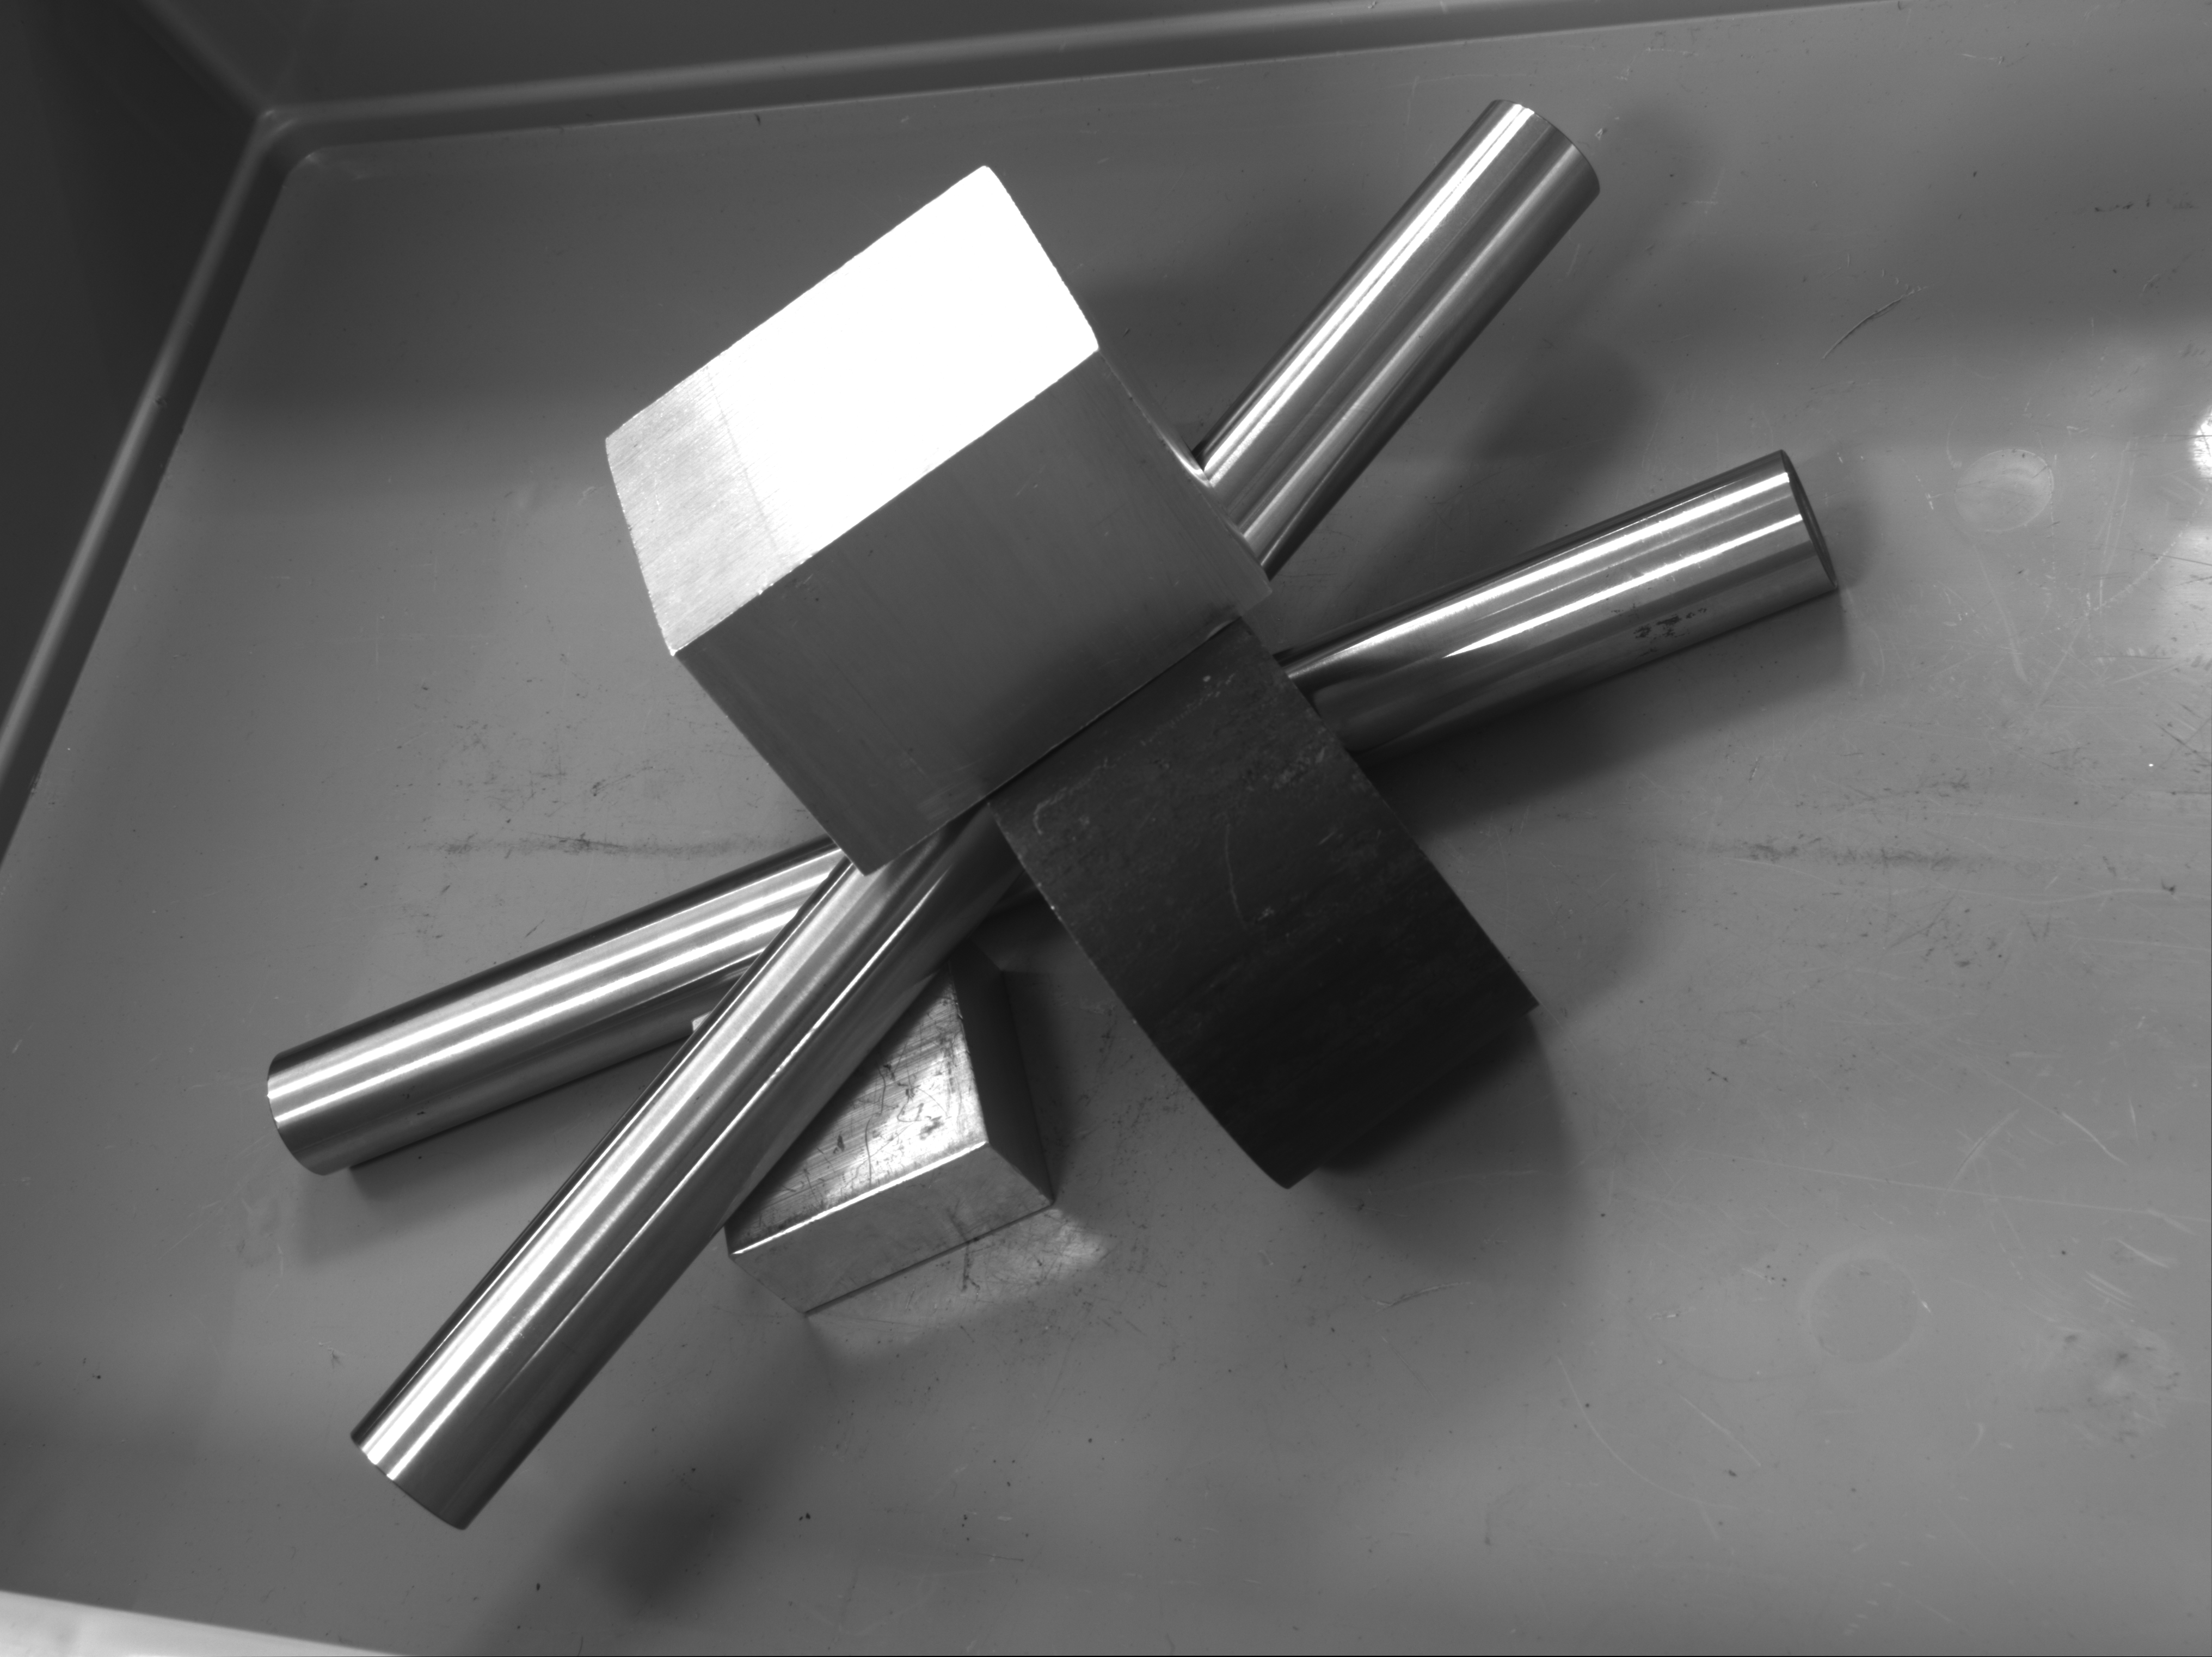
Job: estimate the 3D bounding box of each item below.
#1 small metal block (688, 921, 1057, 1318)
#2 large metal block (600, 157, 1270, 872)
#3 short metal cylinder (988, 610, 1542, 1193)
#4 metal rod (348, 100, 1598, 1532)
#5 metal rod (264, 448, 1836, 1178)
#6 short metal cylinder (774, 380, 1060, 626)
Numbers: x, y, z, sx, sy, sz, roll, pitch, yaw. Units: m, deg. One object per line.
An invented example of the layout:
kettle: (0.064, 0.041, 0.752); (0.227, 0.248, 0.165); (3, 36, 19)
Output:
small metal block: (-0.041, 0.049, 0.636); (0.050, 0.025, 0.050); (-25, 52, 13)
large metal block: (-0.030, -0.052, 0.594); (0.080, 0.050, 0.080); (-35, 33, 6)
short metal cylinder: (0.025, 0.011, 0.588); (0.050, 0.080, 0.080); (-38, 51, 4)
metal rod: (-0.019, -0.006, 0.626); (0.025, 0.025, 0.300); (34, 81, 39)
metal rod: (-0.017, 0.001, 0.653); (0.300, 0.025, 0.025); (-22, 53, 15)
short metal cylinder: (-0.023, -0.053, 0.673); (0.080, 0.050, 0.080); (-14, 56, 21)
